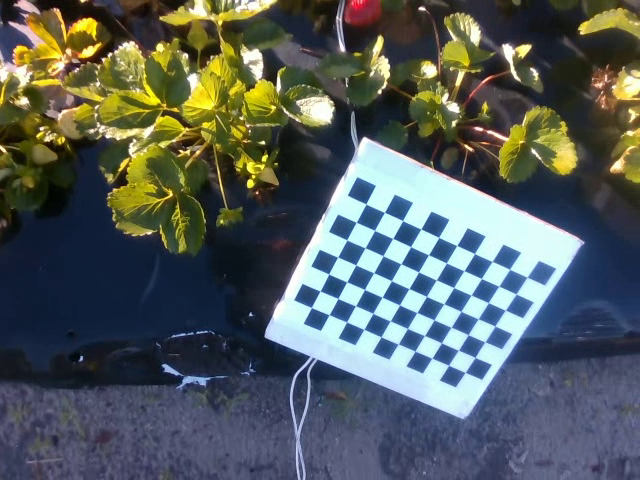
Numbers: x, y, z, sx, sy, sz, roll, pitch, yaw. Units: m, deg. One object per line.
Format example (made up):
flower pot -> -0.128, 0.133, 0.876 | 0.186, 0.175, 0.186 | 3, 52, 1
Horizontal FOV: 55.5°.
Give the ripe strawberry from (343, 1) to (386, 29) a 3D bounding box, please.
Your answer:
ripe strawberry -> 0.058, -0.324, 0.831 | 0.080, 0.062, 0.040 | -48, 21, -30
